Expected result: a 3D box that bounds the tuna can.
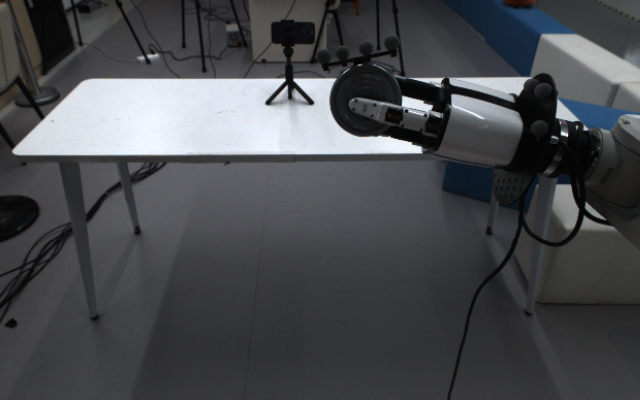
[{"bbox_3d":[0.059,-0.114,0.574,0.085,0.085,0.034,6,18,5],"label":"tuna can"}]
